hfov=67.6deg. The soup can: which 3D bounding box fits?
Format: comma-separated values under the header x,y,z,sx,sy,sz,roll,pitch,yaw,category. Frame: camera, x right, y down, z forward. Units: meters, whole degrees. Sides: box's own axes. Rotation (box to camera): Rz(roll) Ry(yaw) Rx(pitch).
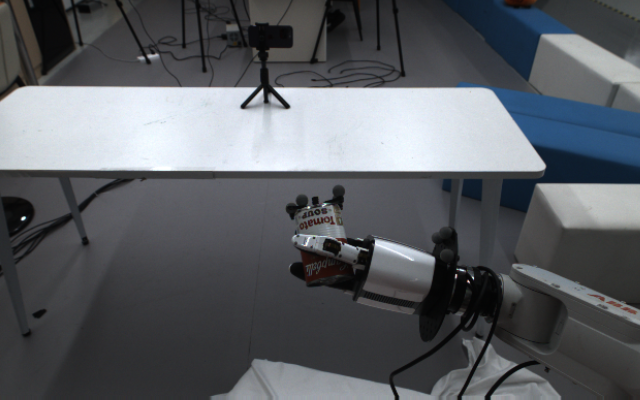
x,y,z,sx,sy,sz,roll,pitch,yaw,category
0.007,0.062,0.664,0.067,0.067,0.101,-8,74,-14,soup can
